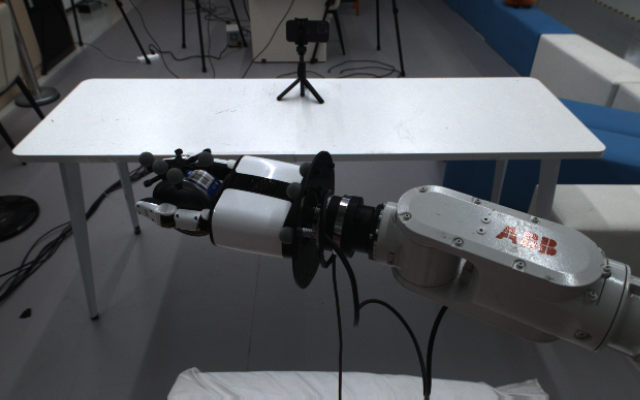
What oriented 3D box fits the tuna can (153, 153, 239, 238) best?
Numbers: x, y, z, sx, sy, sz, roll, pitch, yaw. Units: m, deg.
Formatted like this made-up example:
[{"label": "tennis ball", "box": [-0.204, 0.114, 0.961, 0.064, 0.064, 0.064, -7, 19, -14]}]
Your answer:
[{"label": "tuna can", "box": [-0.153, 0.002, 0.586, 0.085, 0.085, 0.034, 11, 38, 12]}]
